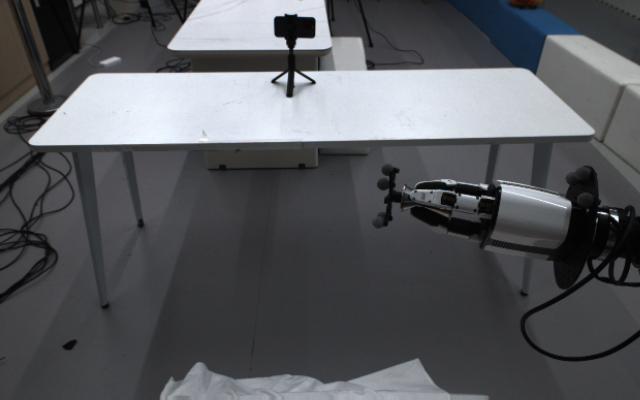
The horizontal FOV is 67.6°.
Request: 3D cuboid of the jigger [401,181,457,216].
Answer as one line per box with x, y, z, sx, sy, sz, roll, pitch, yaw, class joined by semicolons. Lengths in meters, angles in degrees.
0.153;-0.001;0.662;0.071;0.043;0.043;8;35;14;jigger
